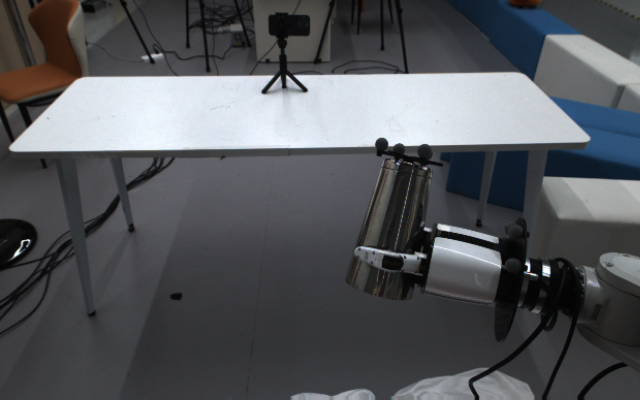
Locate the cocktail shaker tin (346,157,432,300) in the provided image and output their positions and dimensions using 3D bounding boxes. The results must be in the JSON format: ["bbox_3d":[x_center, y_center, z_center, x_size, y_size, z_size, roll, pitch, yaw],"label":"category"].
[{"bbox_3d":[0.098,0.035,0.643,0.093,0.170,0.093,13,4,-1],"label":"cocktail shaker tin"}]
